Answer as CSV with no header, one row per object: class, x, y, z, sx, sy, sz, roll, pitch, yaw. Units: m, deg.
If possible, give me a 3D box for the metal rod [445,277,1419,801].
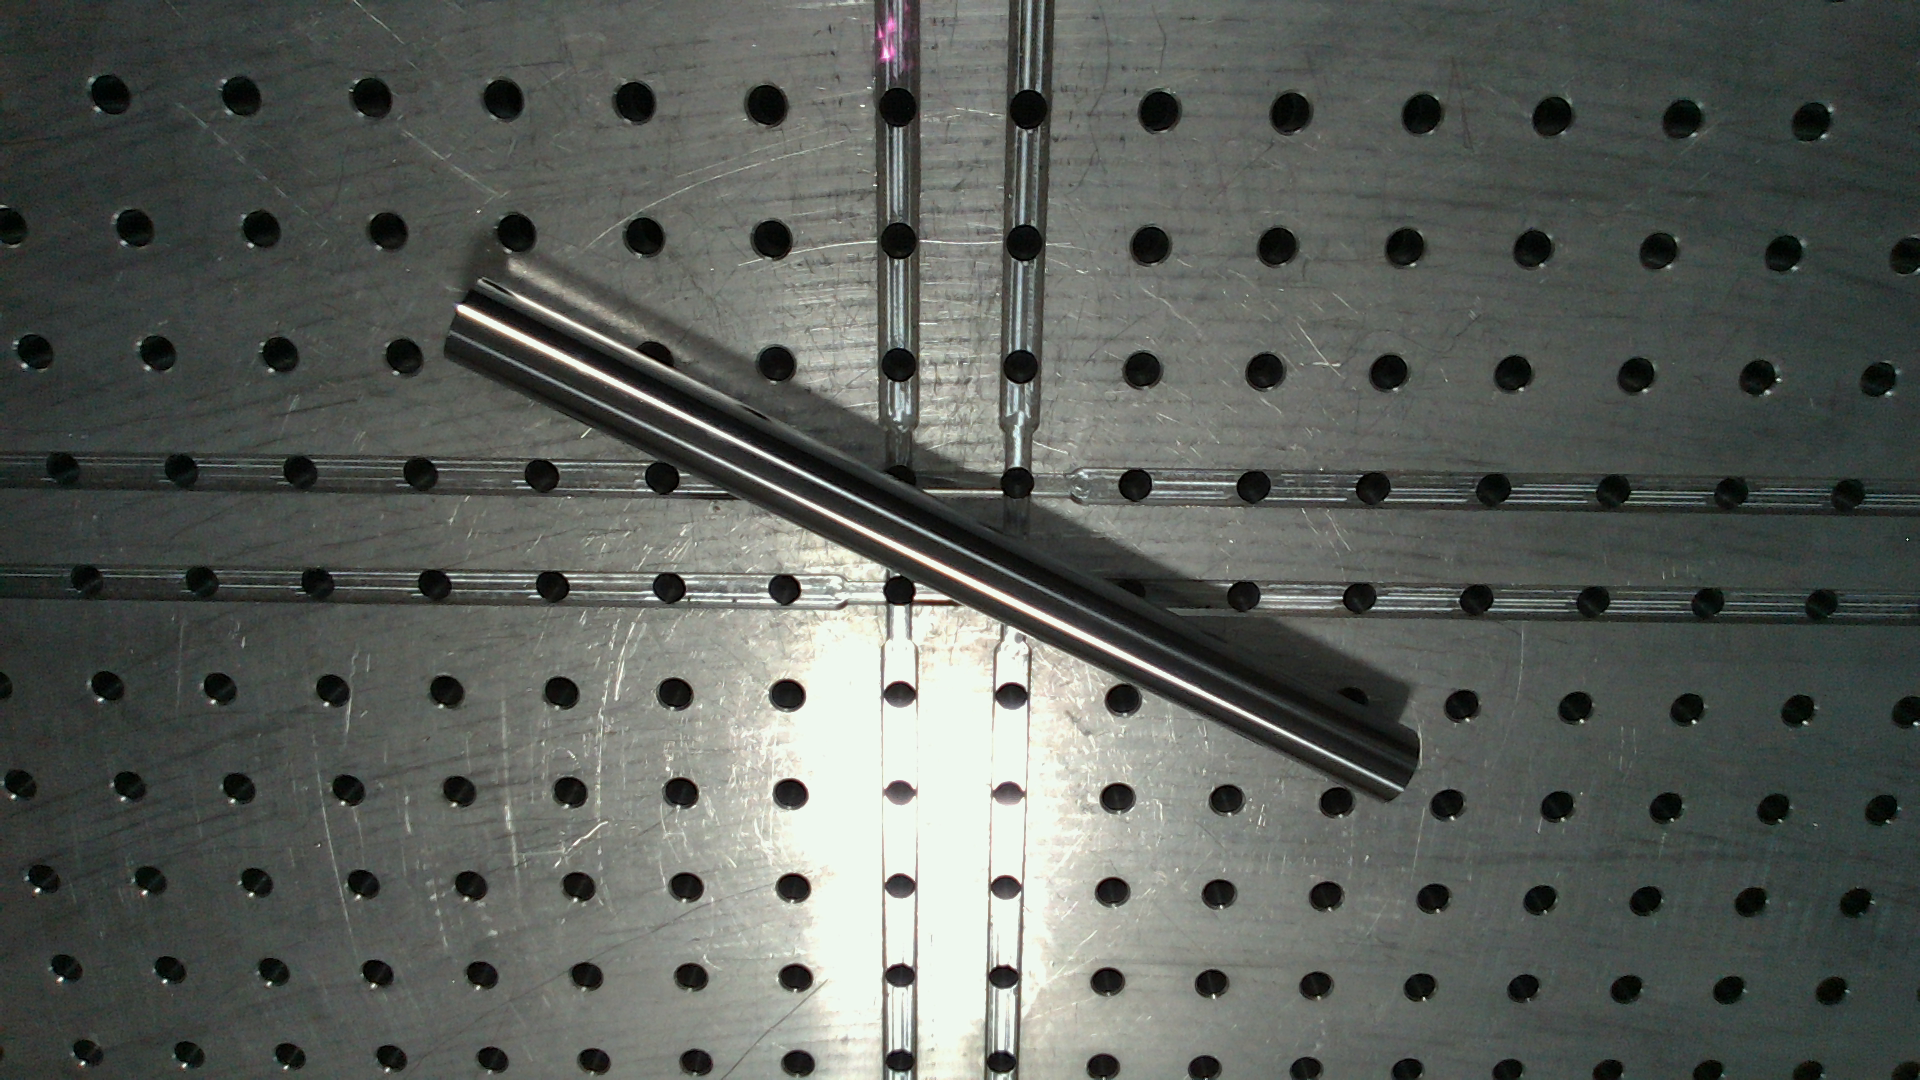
metal rod,0.000,0.004,0.398,0.300,0.025,0.025,26,108,-9
